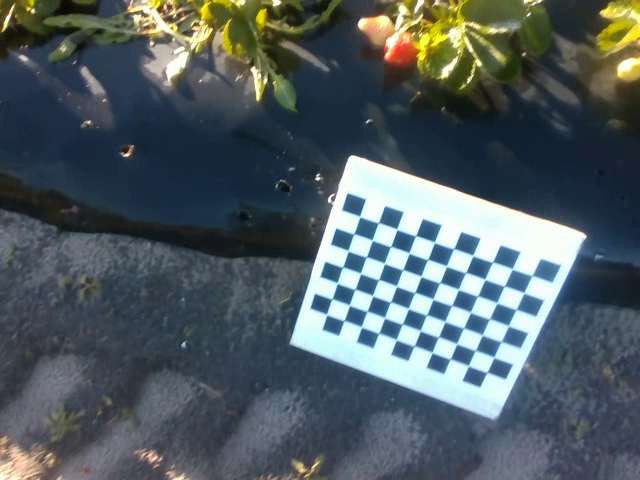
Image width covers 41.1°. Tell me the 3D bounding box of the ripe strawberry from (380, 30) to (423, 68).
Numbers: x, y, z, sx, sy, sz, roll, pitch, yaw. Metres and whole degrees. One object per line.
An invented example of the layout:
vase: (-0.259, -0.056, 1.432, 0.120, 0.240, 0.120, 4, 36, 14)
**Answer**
ripe strawberry: (0.082, -0.202, 0.884, 0.040, 0.038, 0.055, 15, 30, 37)
